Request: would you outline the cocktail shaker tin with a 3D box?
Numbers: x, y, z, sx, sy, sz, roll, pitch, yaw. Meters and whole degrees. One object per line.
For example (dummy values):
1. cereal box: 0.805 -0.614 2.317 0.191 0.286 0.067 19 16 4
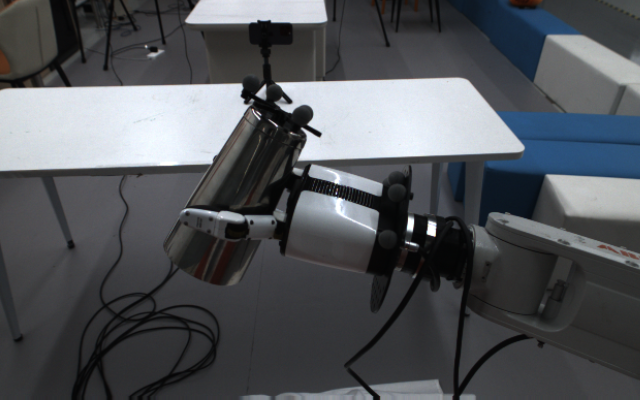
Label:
1. cocktail shaker tin: -0.081 -0.010 0.500 0.093 0.170 0.093 28 14 -7
